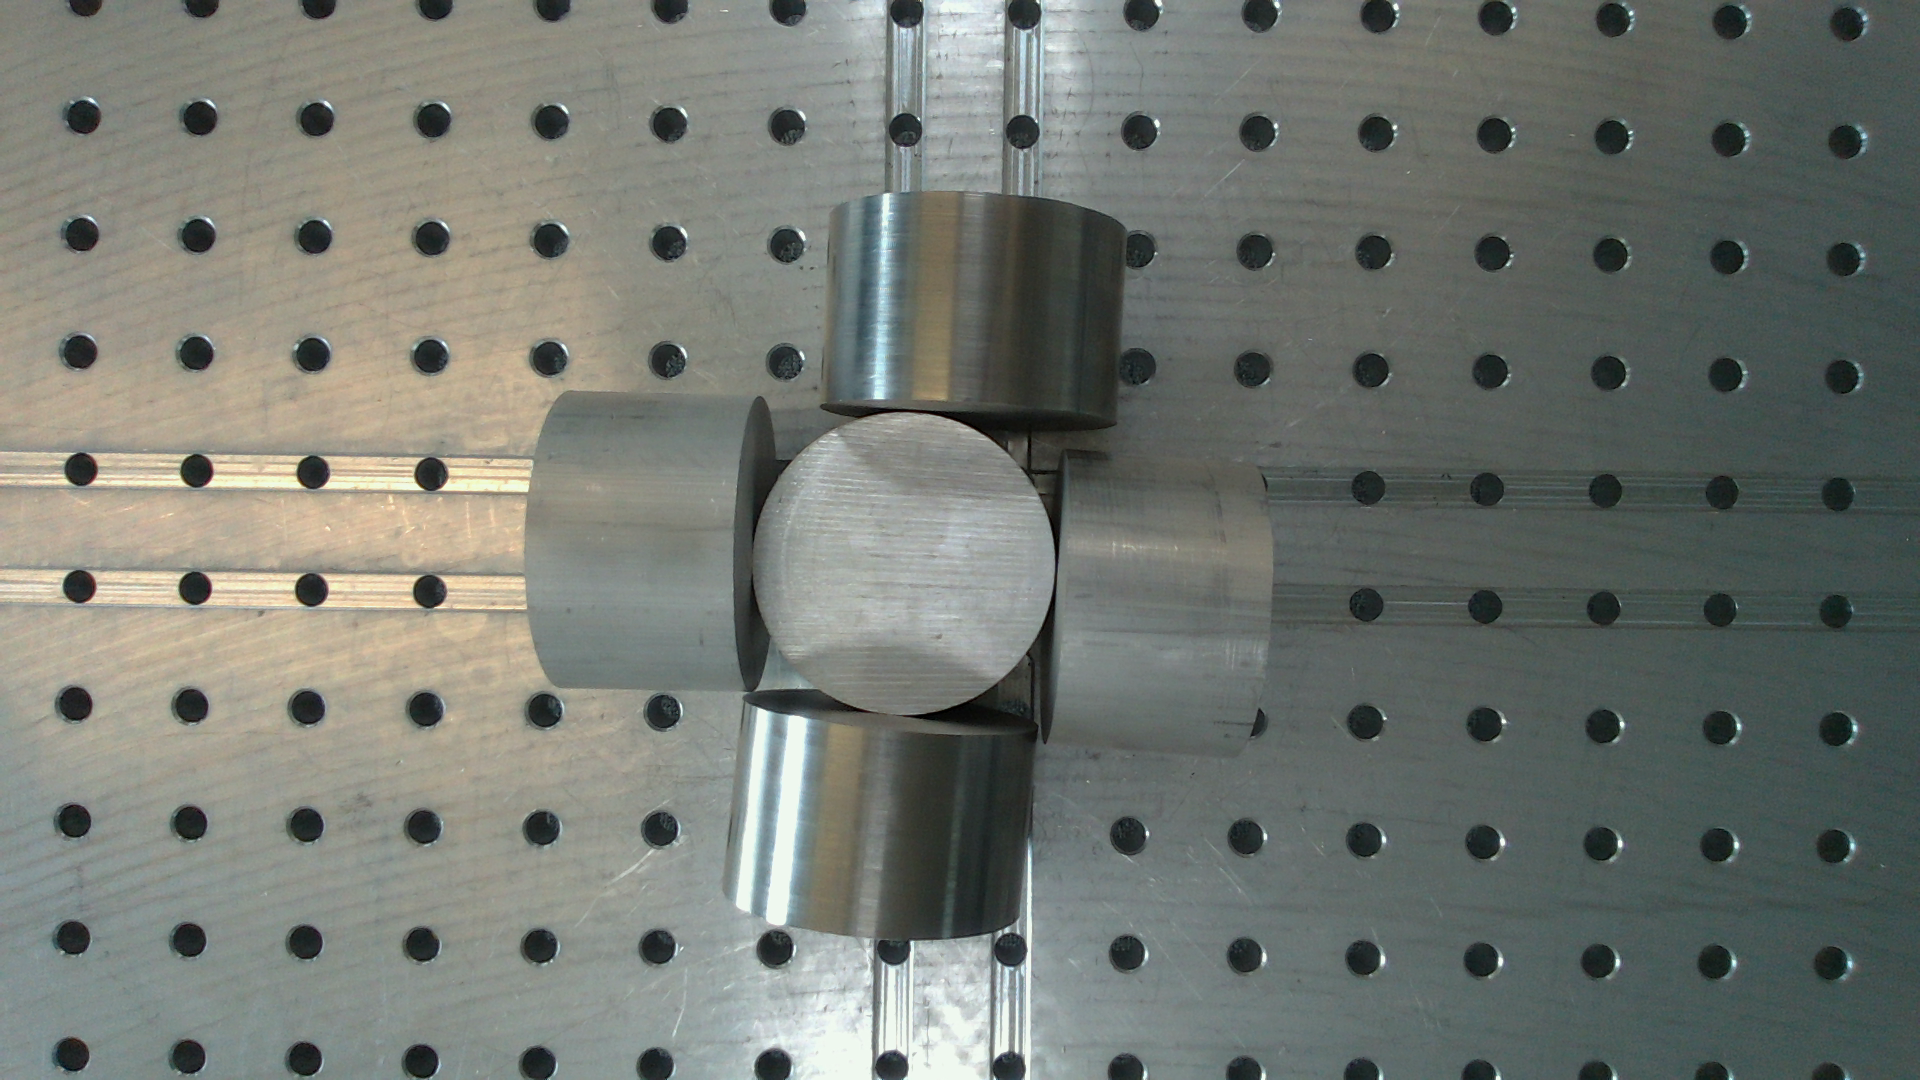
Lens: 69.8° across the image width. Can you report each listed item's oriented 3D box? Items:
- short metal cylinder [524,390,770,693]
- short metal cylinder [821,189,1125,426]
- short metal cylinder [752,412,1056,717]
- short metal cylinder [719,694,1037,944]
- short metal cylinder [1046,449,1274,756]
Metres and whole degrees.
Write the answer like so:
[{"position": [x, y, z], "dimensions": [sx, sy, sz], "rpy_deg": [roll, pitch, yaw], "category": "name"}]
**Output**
[{"position": [-0.080, 0.000, 0.370], "dimensions": [0.050, 0.080, 0.080], "rpy_deg": [2, 90, -1], "category": "short metal cylinder"}, {"position": [0.003, -0.059, 0.370], "dimensions": [0.080, 0.080, 0.050], "rpy_deg": [3, 90, 0], "category": "short metal cylinder"}, {"position": [-0.015, 0.006, 0.386], "dimensions": [0.080, 0.050, 0.080], "rpy_deg": [0, 90, -1], "category": "short metal cylinder"}, {"position": [-0.022, 0.071, 0.369], "dimensions": [0.080, 0.080, 0.050], "rpy_deg": [6, 90, 0], "category": "short metal cylinder"}, {"position": [0.050, 0.017, 0.371], "dimensions": [0.050, 0.080, 0.080], "rpy_deg": [4, 90, 0], "category": "short metal cylinder"}]
